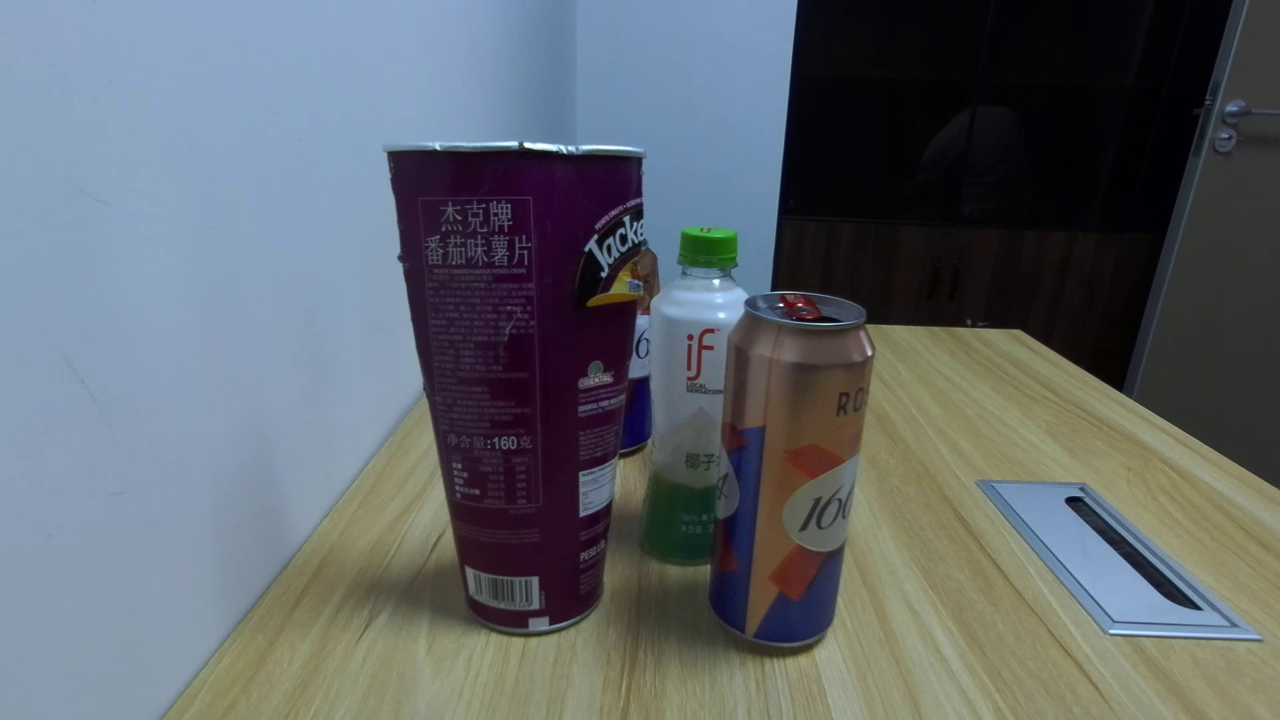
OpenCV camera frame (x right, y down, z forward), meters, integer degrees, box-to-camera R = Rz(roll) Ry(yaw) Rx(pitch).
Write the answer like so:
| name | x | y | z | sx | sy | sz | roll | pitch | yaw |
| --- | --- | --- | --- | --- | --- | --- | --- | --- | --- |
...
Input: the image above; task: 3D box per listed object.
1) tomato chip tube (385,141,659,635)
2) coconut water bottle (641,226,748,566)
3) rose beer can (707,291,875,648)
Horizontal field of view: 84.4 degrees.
| name | x | y | z | sx | sy | sz | roll | pitch | yaw |
| --- | --- | --- | --- | --- | --- | --- | --- | --- | --- |
| tomato chip tube | -0.051 | 0.016 | 0.350 | 0.090 | 0.236 | 0.078 | 8 | 19 | 24 |
| coconut water bottle | 0.035 | 0.021 | 0.407 | 0.063 | 0.188 | 0.063 | 3 | 18 | -1 |
| rose beer can | 0.072 | 0.056 | 0.349 | 0.068 | 0.169 | 0.068 | 3 | 19 | -1 |
